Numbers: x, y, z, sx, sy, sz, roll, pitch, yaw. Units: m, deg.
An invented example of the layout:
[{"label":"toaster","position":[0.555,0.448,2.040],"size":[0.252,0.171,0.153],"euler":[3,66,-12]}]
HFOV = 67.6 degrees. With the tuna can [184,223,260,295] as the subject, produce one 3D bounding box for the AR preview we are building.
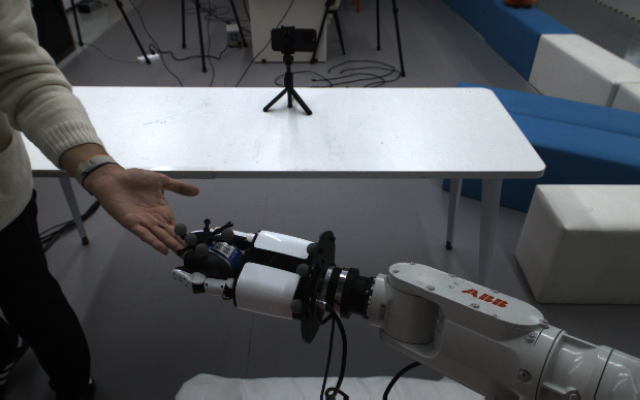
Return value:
[{"label":"tuna can","position":[-0.150,0.093,0.700],"size":[0.085,0.085,0.034],"euler":[14,39,16]}]
